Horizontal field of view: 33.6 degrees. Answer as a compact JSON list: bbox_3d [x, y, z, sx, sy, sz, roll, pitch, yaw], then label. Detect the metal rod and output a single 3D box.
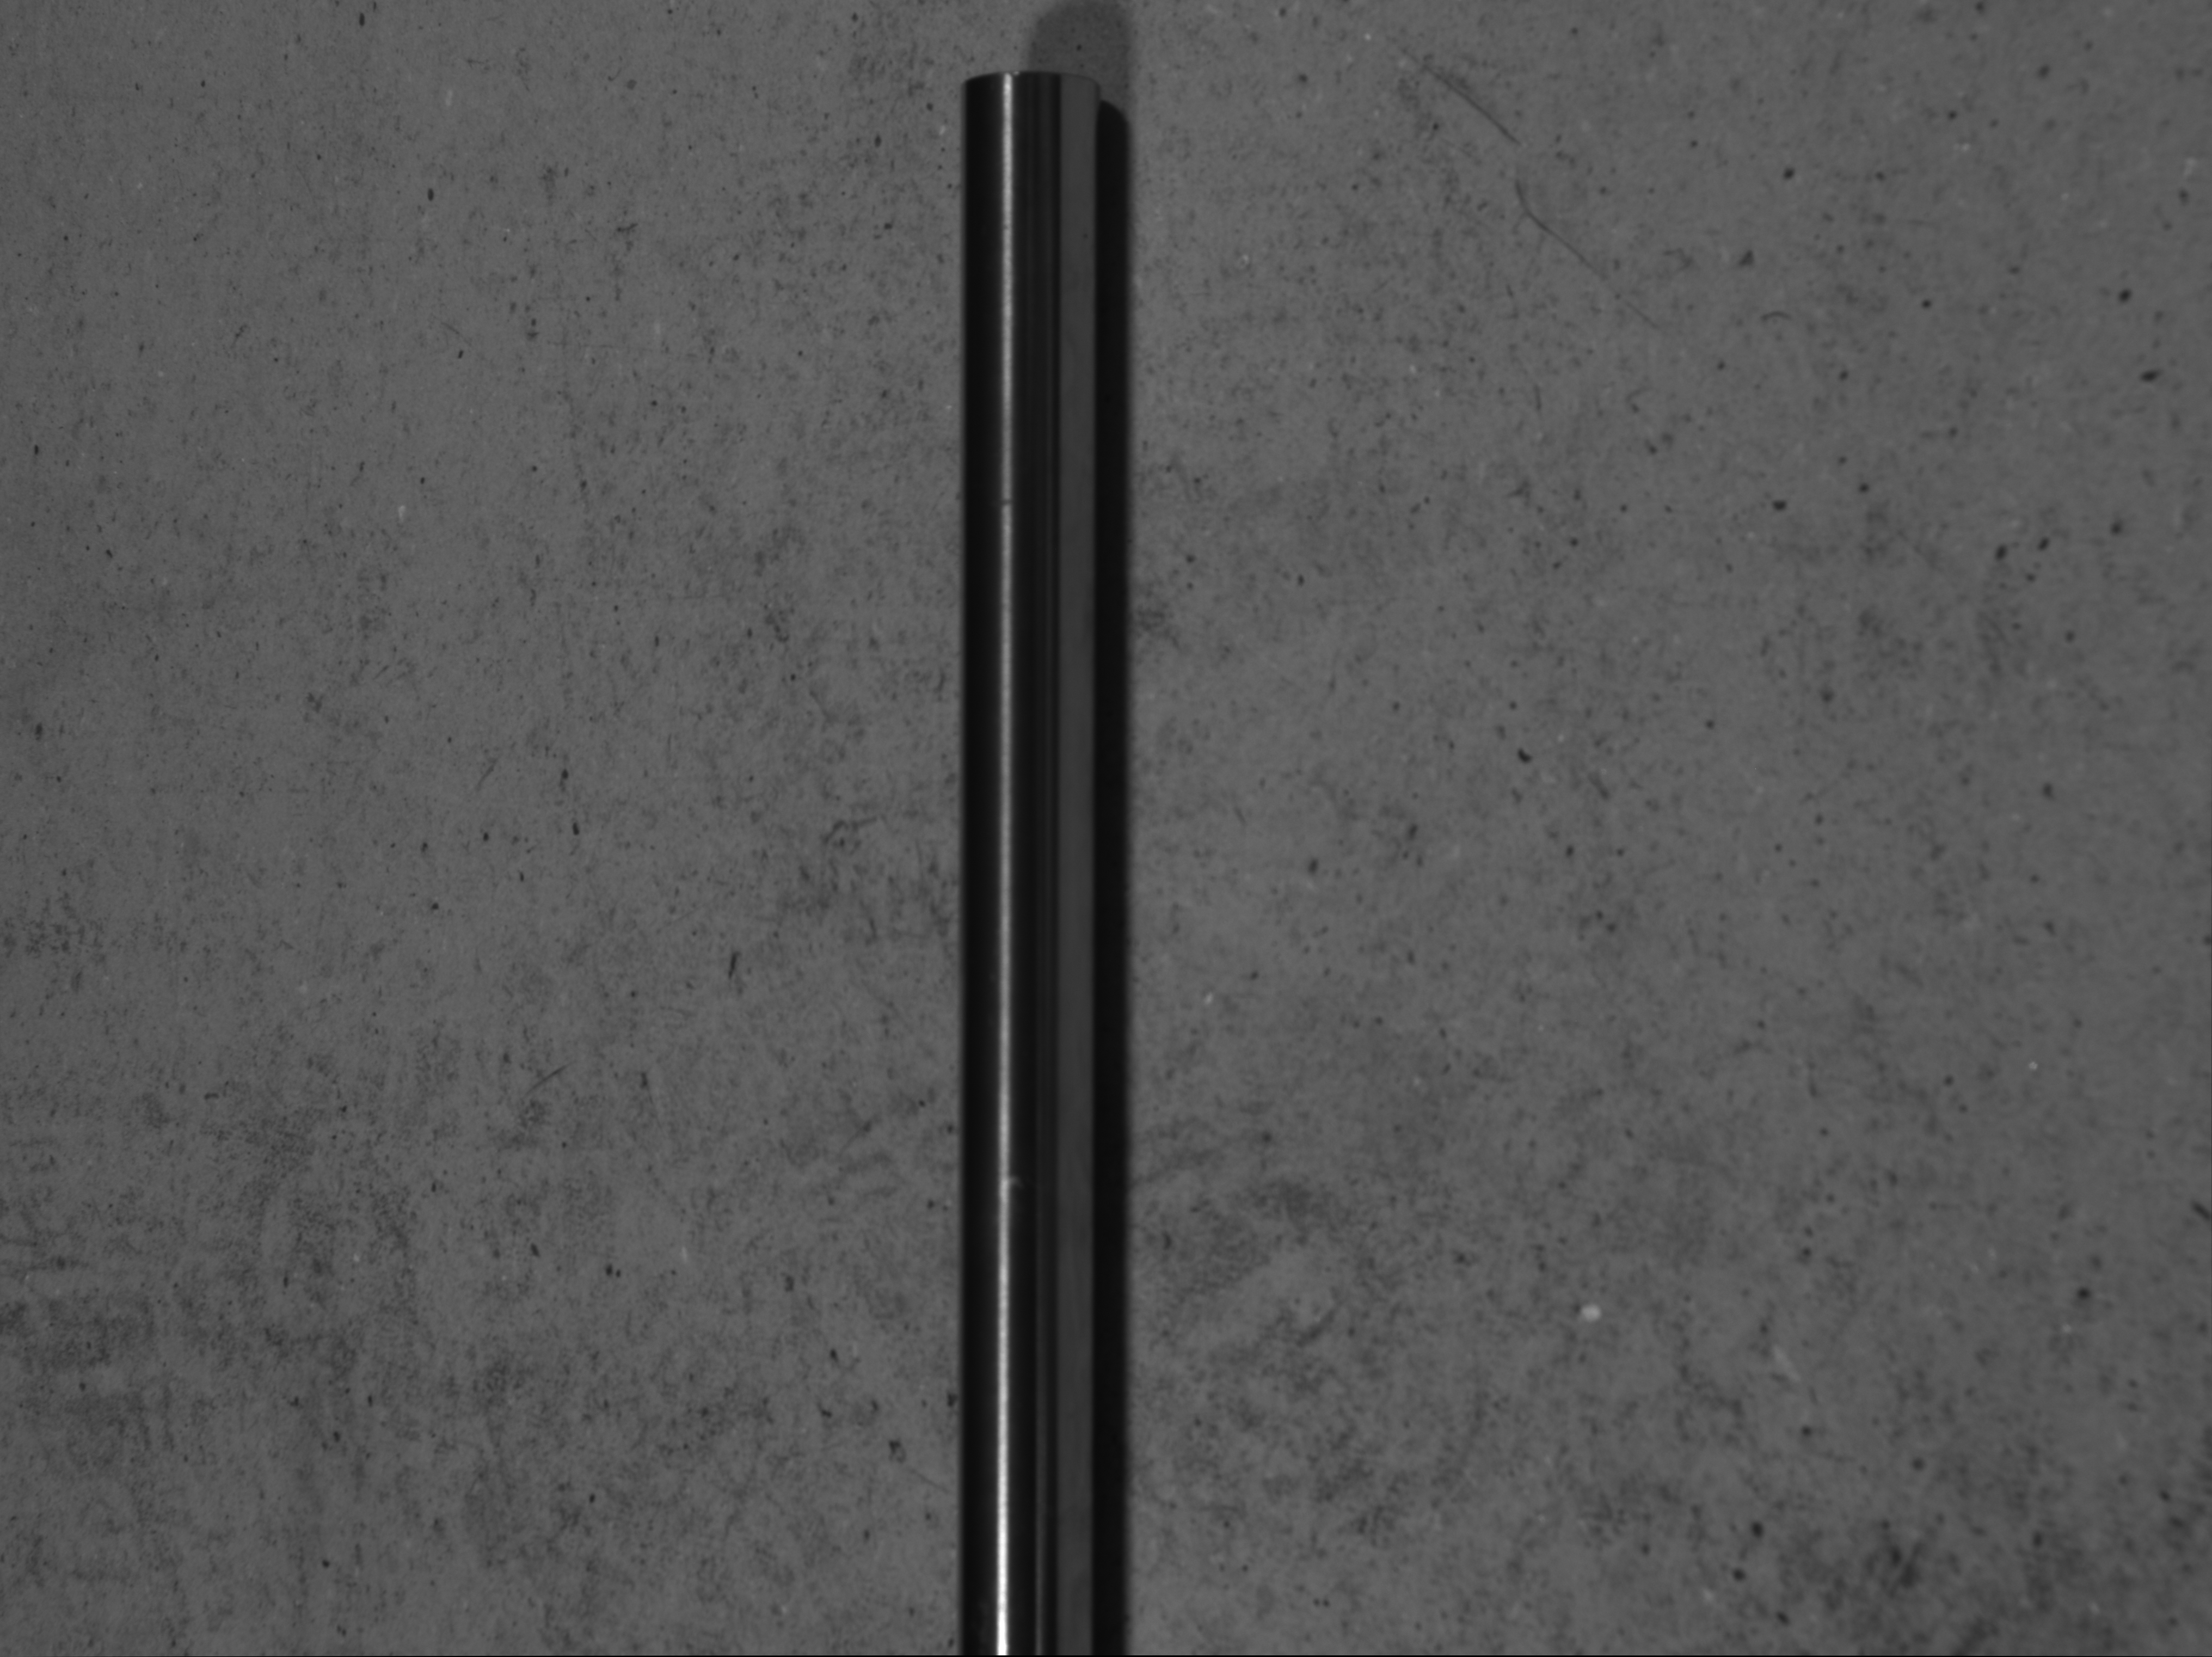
[{"bbox_3d":[-0.019,0.018,0.651,0.025,0.025,0.300,0,90,39],"label":"metal rod"}]
